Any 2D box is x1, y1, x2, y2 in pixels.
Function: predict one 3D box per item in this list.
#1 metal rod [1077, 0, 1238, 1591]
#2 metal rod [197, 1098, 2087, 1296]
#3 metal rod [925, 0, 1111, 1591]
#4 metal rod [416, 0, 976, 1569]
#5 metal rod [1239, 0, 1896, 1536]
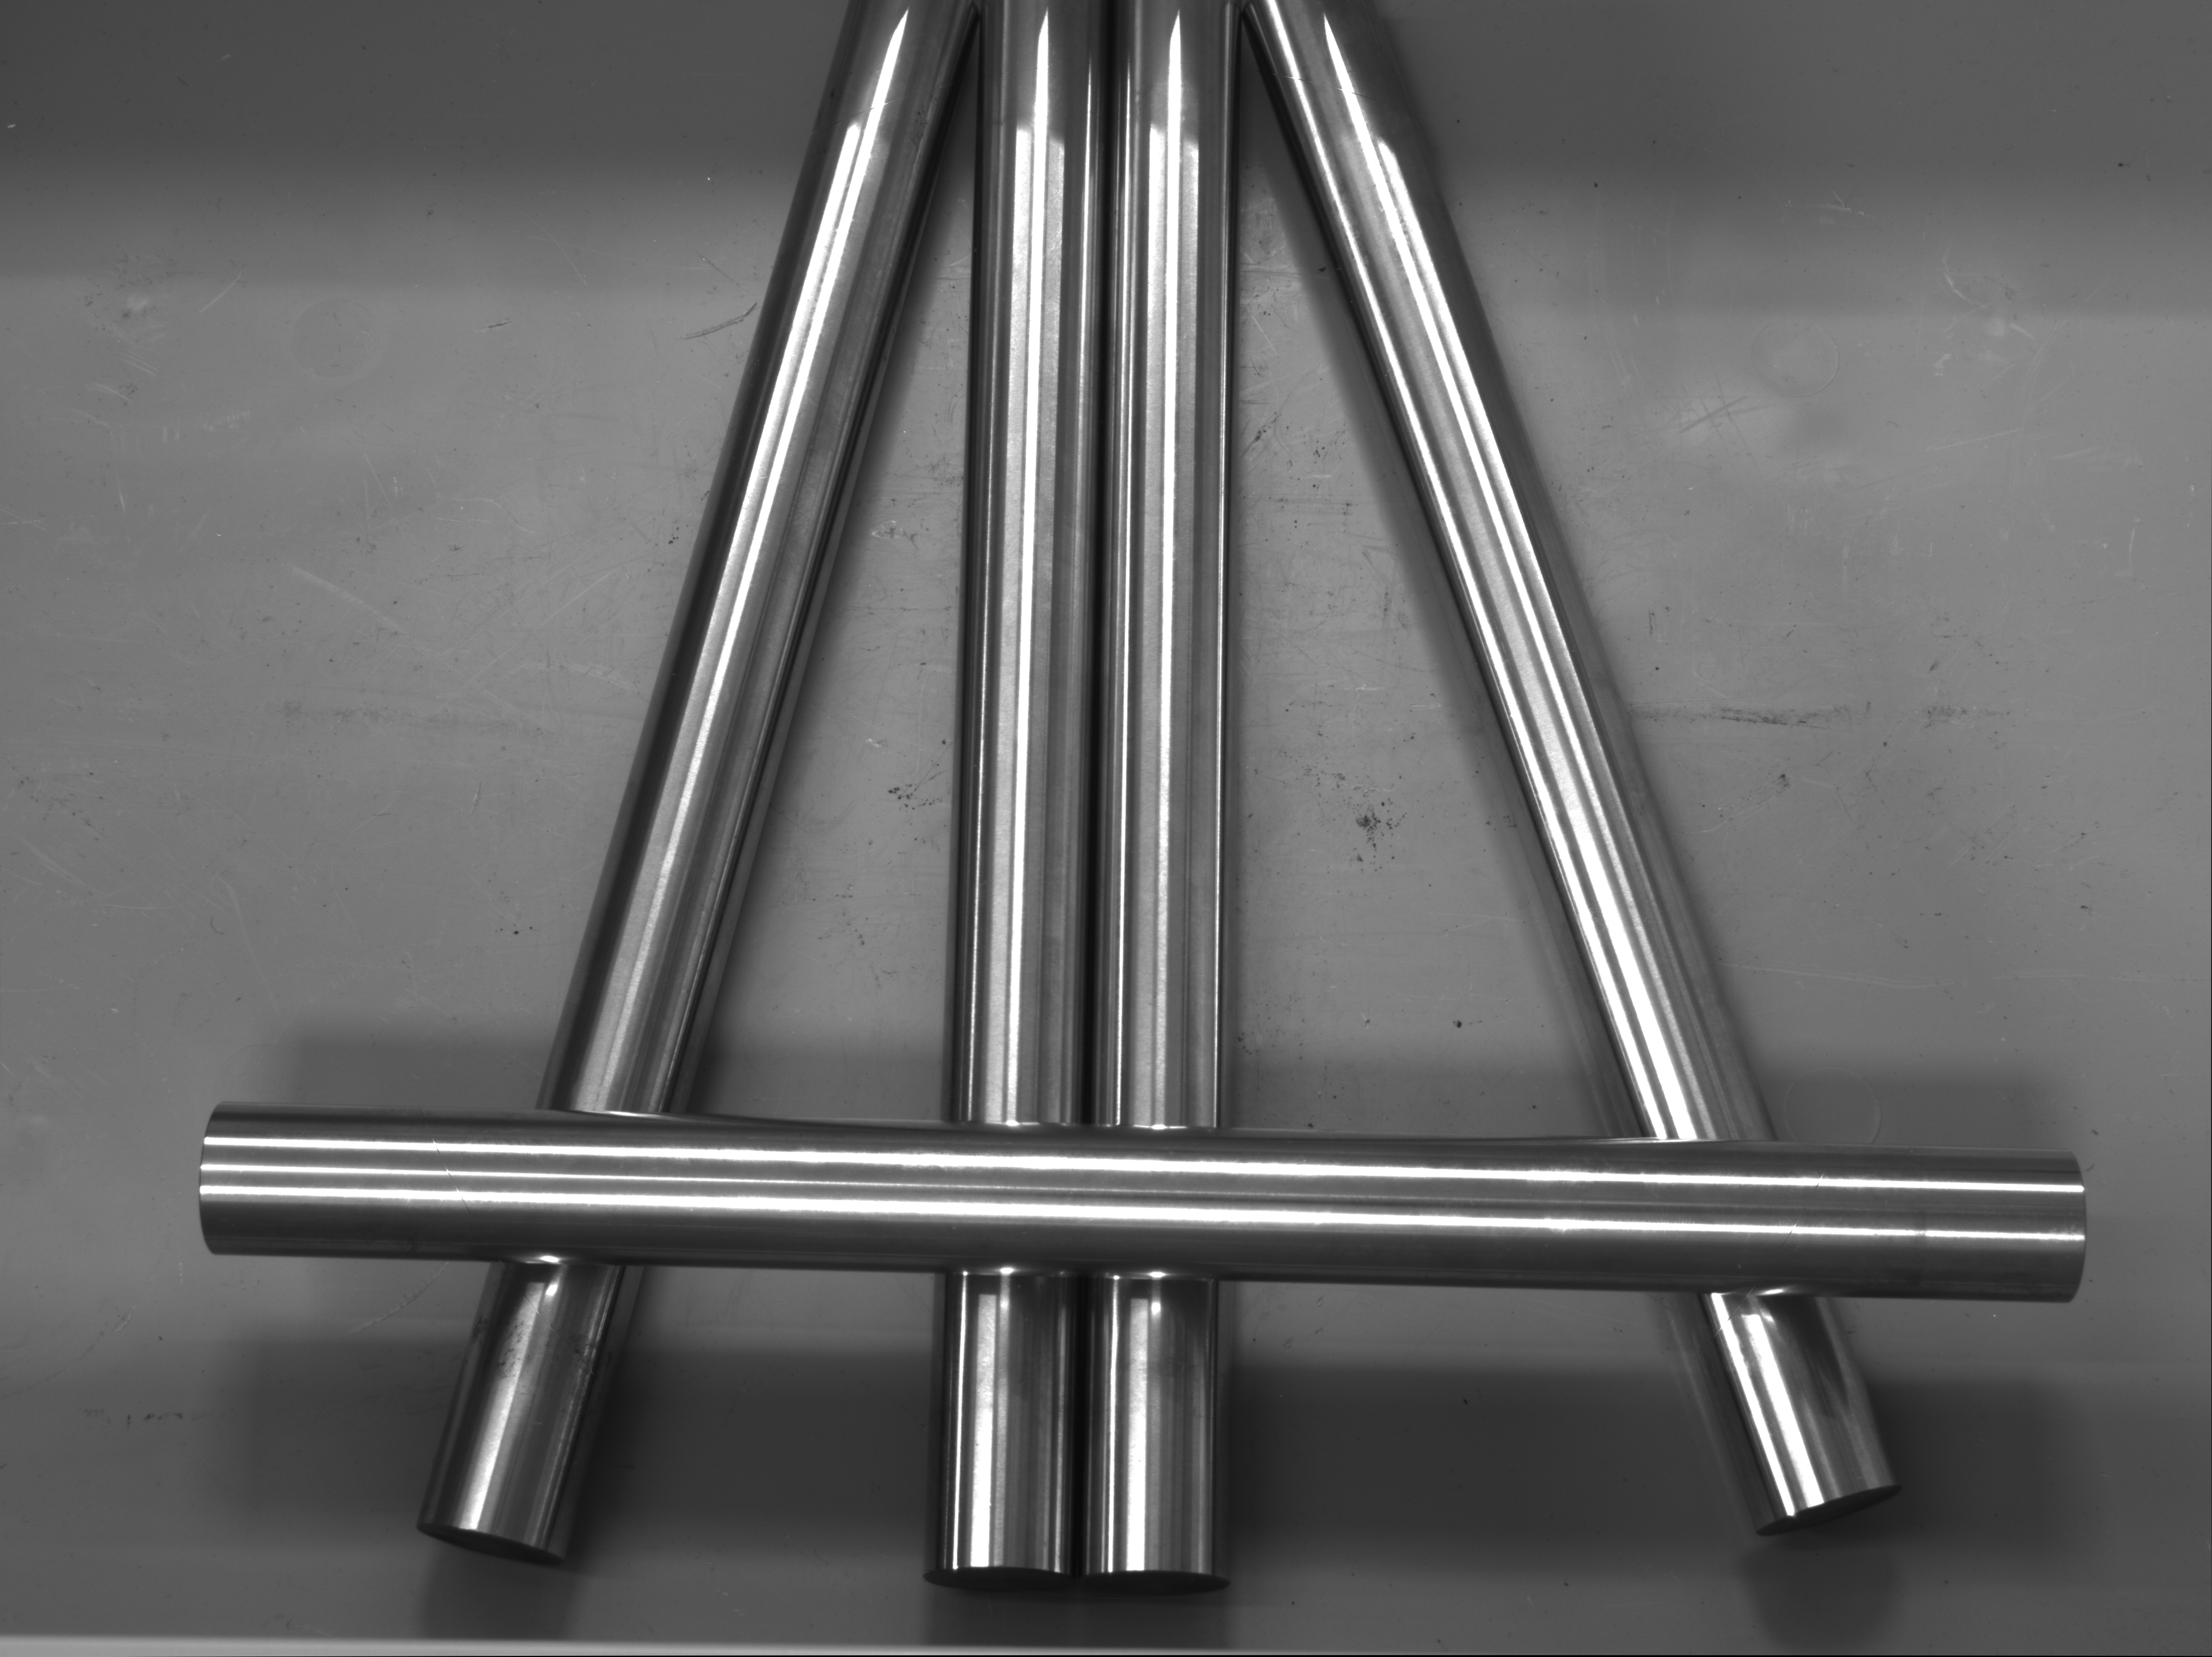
[{"bbox_3d":[0.010,-0.018,0.651,0.025,0.025,0.300,1,70,0],"label":"metal rod"},{"bbox_3d":[0.005,0.060,0.594,0.300,0.025,0.025,1,70,1],"label":"metal rod"},{"bbox_3d":[-0.014,-0.018,0.650,0.025,0.025,0.300,1,70,1],"label":"metal rod"},{"bbox_3d":[-0.069,-0.020,0.651,0.025,0.025,0.300,12,70,4],"label":"metal rod"},{"bbox_3d":[0.078,-0.023,0.652,0.025,0.025,0.300,-15,71,-5],"label":"metal rod"}]
